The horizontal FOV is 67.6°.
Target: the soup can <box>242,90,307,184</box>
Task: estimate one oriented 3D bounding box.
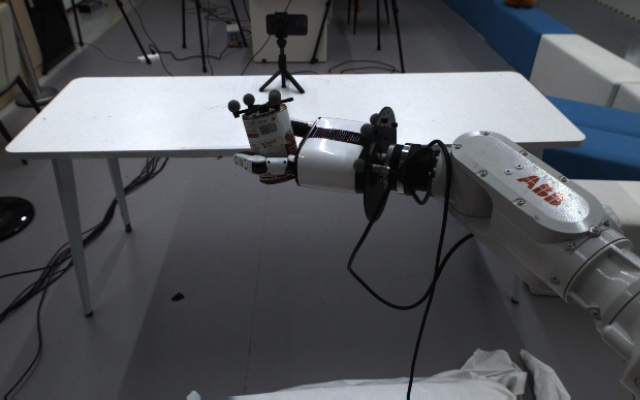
[{"bbox_3d":[-0.067,-0.082,0.703,0.067,0.101,0.067,-13,20,5],"label":"soup can"}]
